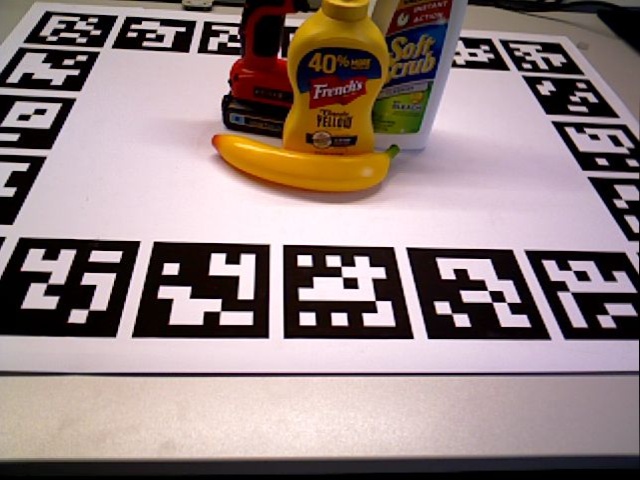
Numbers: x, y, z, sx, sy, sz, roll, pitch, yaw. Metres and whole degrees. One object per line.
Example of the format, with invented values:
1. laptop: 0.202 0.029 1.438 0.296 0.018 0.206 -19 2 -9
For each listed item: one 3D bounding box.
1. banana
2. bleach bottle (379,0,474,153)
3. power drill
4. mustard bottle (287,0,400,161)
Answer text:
1. banana: -0.005 -0.074 0.544 0.196 0.040 0.073 4 47 0
2. bleach bottle: 0.092 -0.211 0.530 0.102 0.257 0.066 4 41 -3
3. power drill: -0.019 -0.222 0.532 0.184 0.191 0.056 12 45 2
4. mustard bottle: 0.023 -0.155 0.503 0.095 0.196 0.057 3 46 -6
